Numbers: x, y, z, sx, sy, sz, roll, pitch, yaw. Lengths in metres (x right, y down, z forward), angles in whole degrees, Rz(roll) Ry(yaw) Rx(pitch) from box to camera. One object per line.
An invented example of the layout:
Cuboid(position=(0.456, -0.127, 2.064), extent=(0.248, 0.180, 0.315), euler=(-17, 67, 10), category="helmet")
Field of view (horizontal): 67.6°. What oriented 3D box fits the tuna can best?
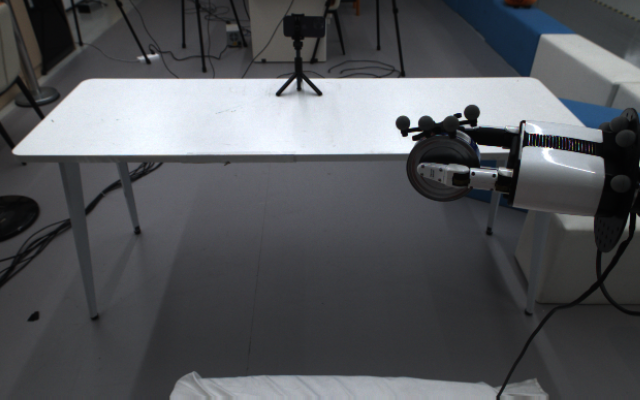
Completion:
Cuboid(position=(0.152, -0.045, 0.589), extent=(0.085, 0.085, 0.034), euler=(13, 29, 15), category="tuna can")
